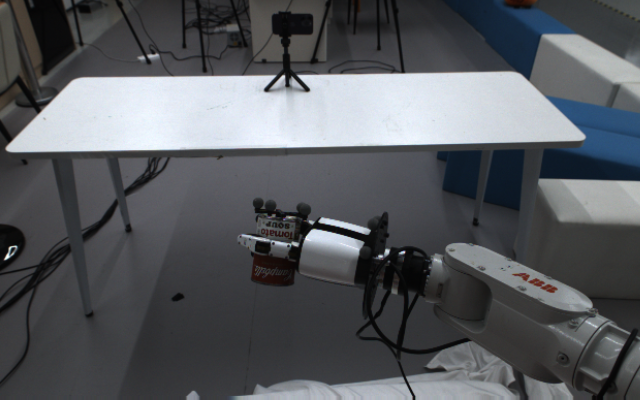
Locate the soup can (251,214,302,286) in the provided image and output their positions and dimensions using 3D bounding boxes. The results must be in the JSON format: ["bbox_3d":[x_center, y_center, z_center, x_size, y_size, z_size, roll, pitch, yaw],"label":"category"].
[{"bbox_3d":[-0.066,0.075,0.739,0.067,0.101,0.067,7,3,0],"label":"soup can"}]
